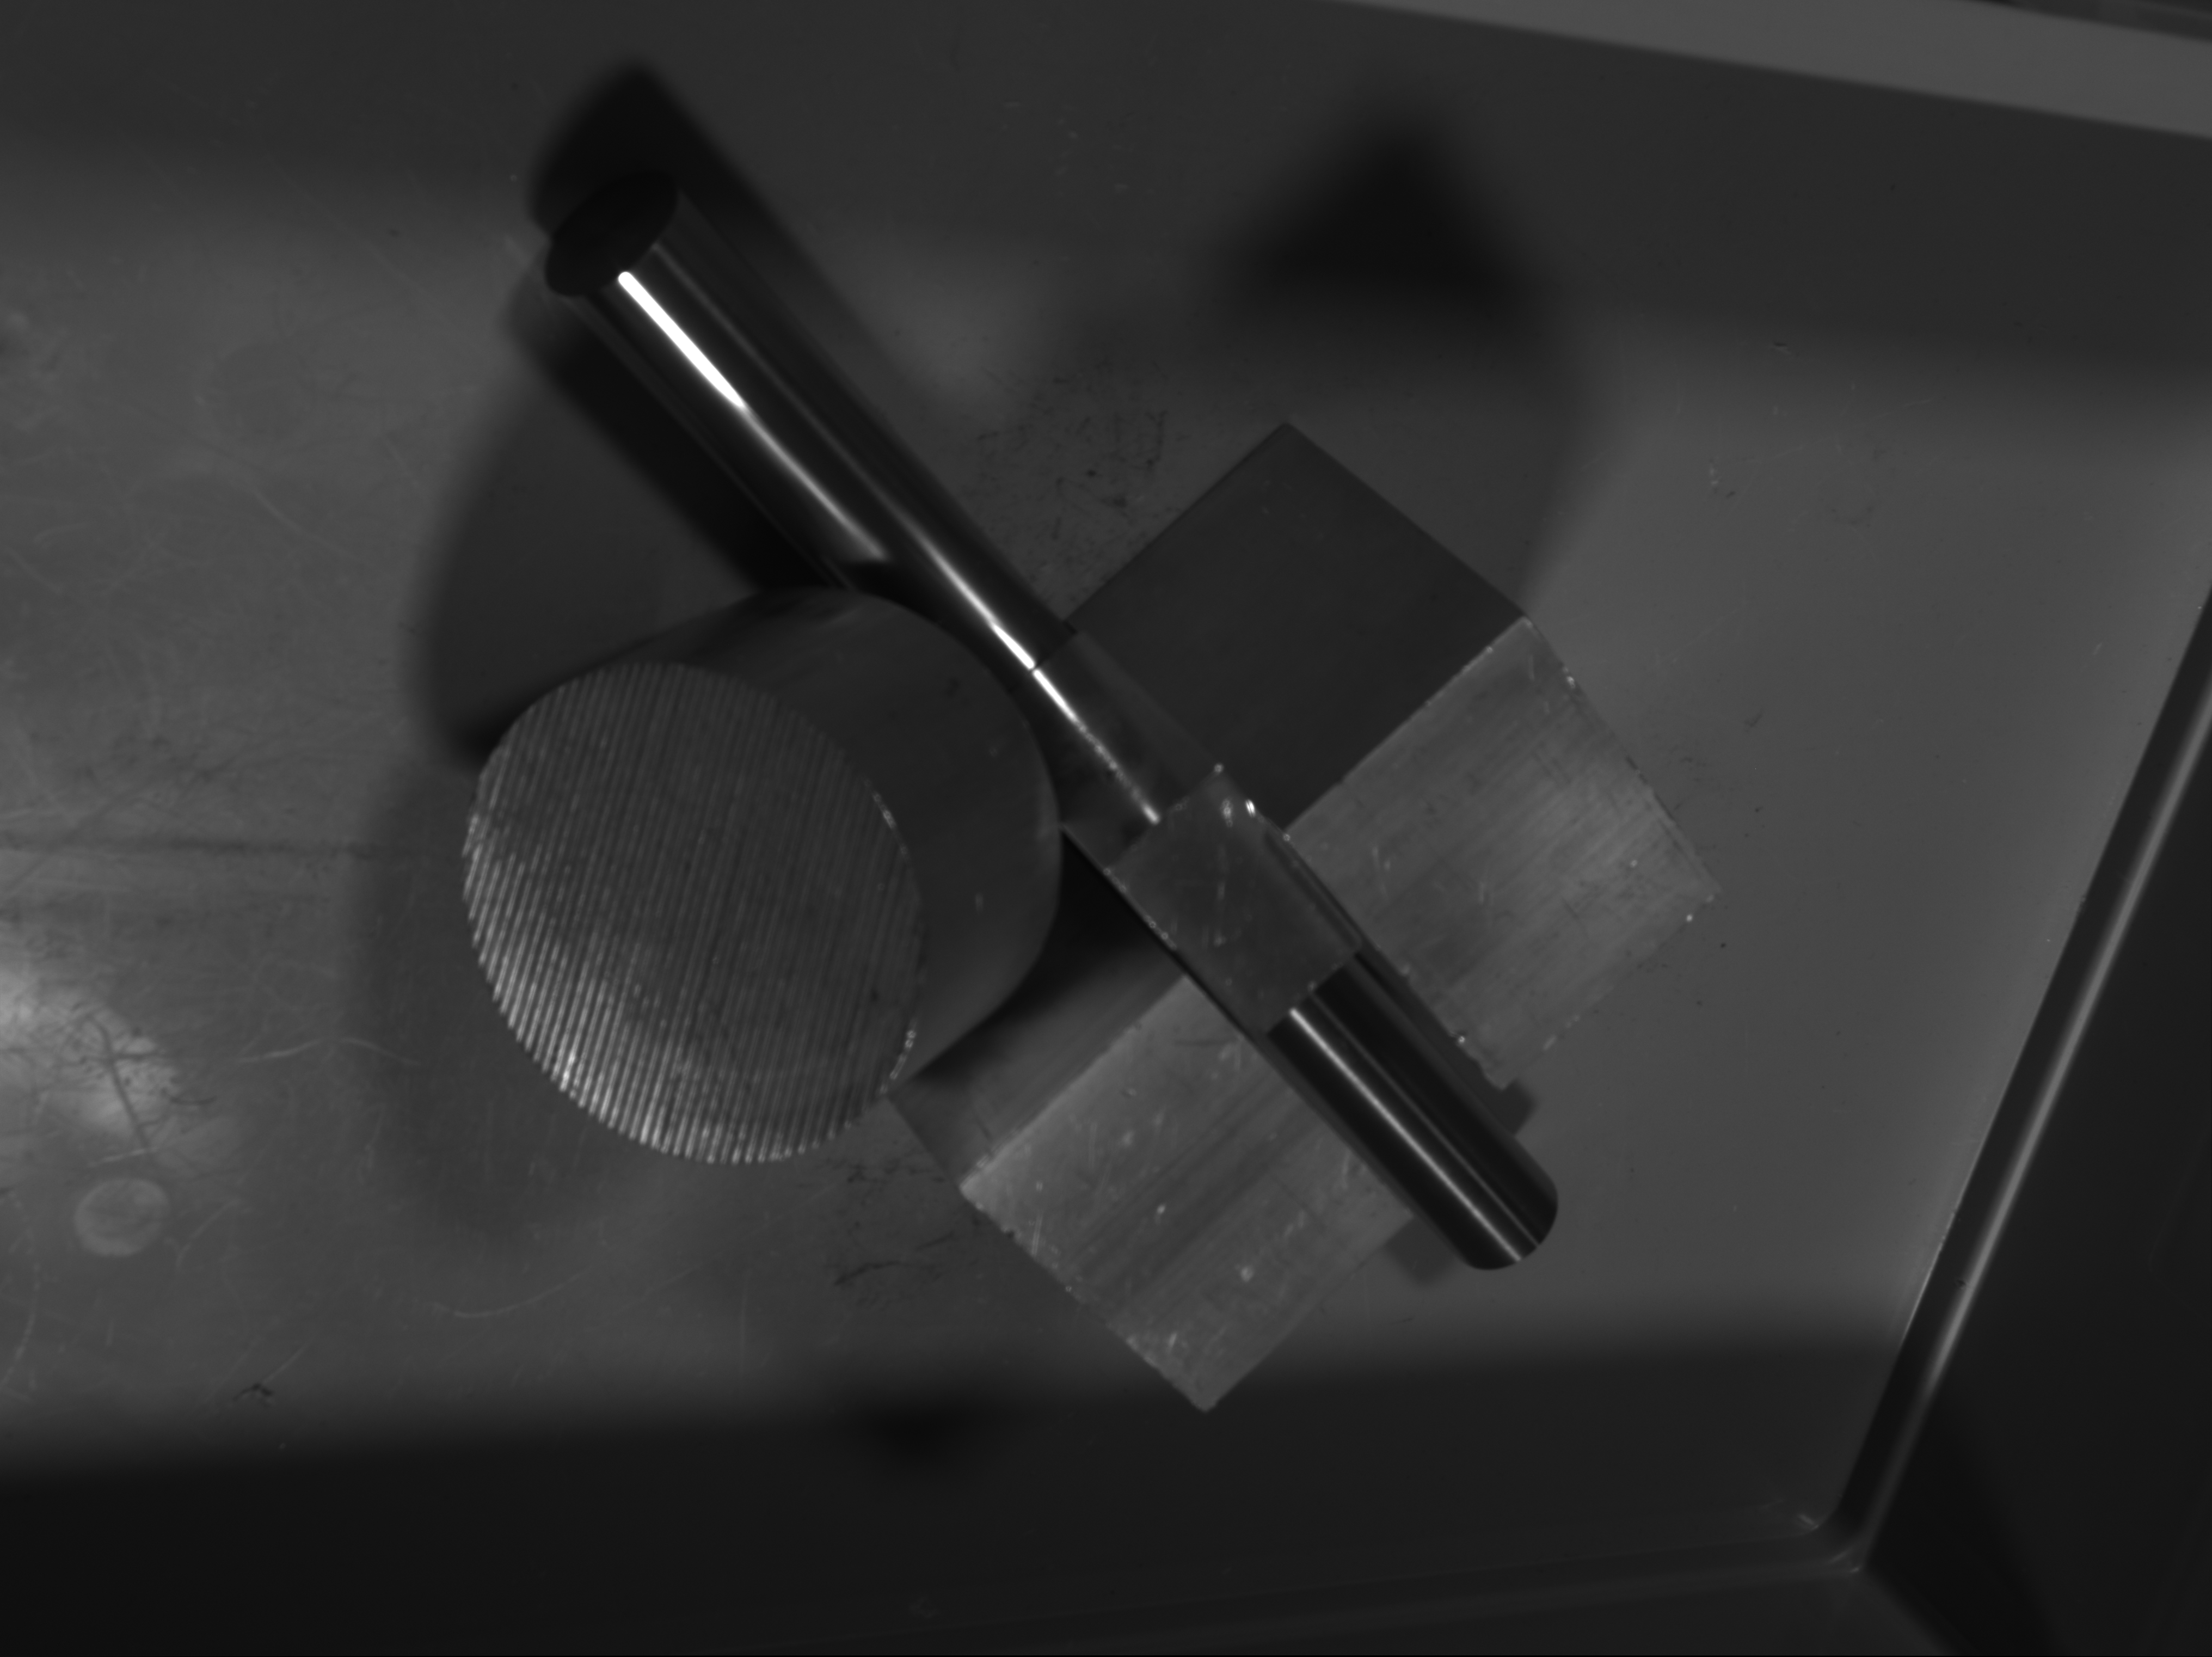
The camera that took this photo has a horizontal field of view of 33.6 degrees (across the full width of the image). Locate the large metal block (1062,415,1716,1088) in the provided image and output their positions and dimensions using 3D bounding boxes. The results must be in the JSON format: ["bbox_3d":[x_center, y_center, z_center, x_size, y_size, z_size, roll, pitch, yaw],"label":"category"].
[{"bbox_3d":[0.049,-0.014,0.635,0.050,0.080,0.080,-42,130,-1],"label":"large metal block"}]

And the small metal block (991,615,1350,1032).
[{"bbox_3d":[0.007,-0.001,0.607,0.025,0.050,0.050,-42,130,-1],"label":"small metal block"}]

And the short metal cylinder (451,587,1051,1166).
[{"bbox_3d":[-0.055,0.007,0.578,0.050,0.080,0.080,-37,146,-61],"label":"short metal cylinder"}]

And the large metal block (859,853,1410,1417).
[{"bbox_3d":[-0.004,0.044,0.639,0.050,0.080,0.080,-43,130,0],"label":"large metal block"}]

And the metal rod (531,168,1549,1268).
[{"bbox_3d":[0.001,-0.006,0.648,0.025,0.025,0.301,-43,130,0],"label":"metal rod"}]
